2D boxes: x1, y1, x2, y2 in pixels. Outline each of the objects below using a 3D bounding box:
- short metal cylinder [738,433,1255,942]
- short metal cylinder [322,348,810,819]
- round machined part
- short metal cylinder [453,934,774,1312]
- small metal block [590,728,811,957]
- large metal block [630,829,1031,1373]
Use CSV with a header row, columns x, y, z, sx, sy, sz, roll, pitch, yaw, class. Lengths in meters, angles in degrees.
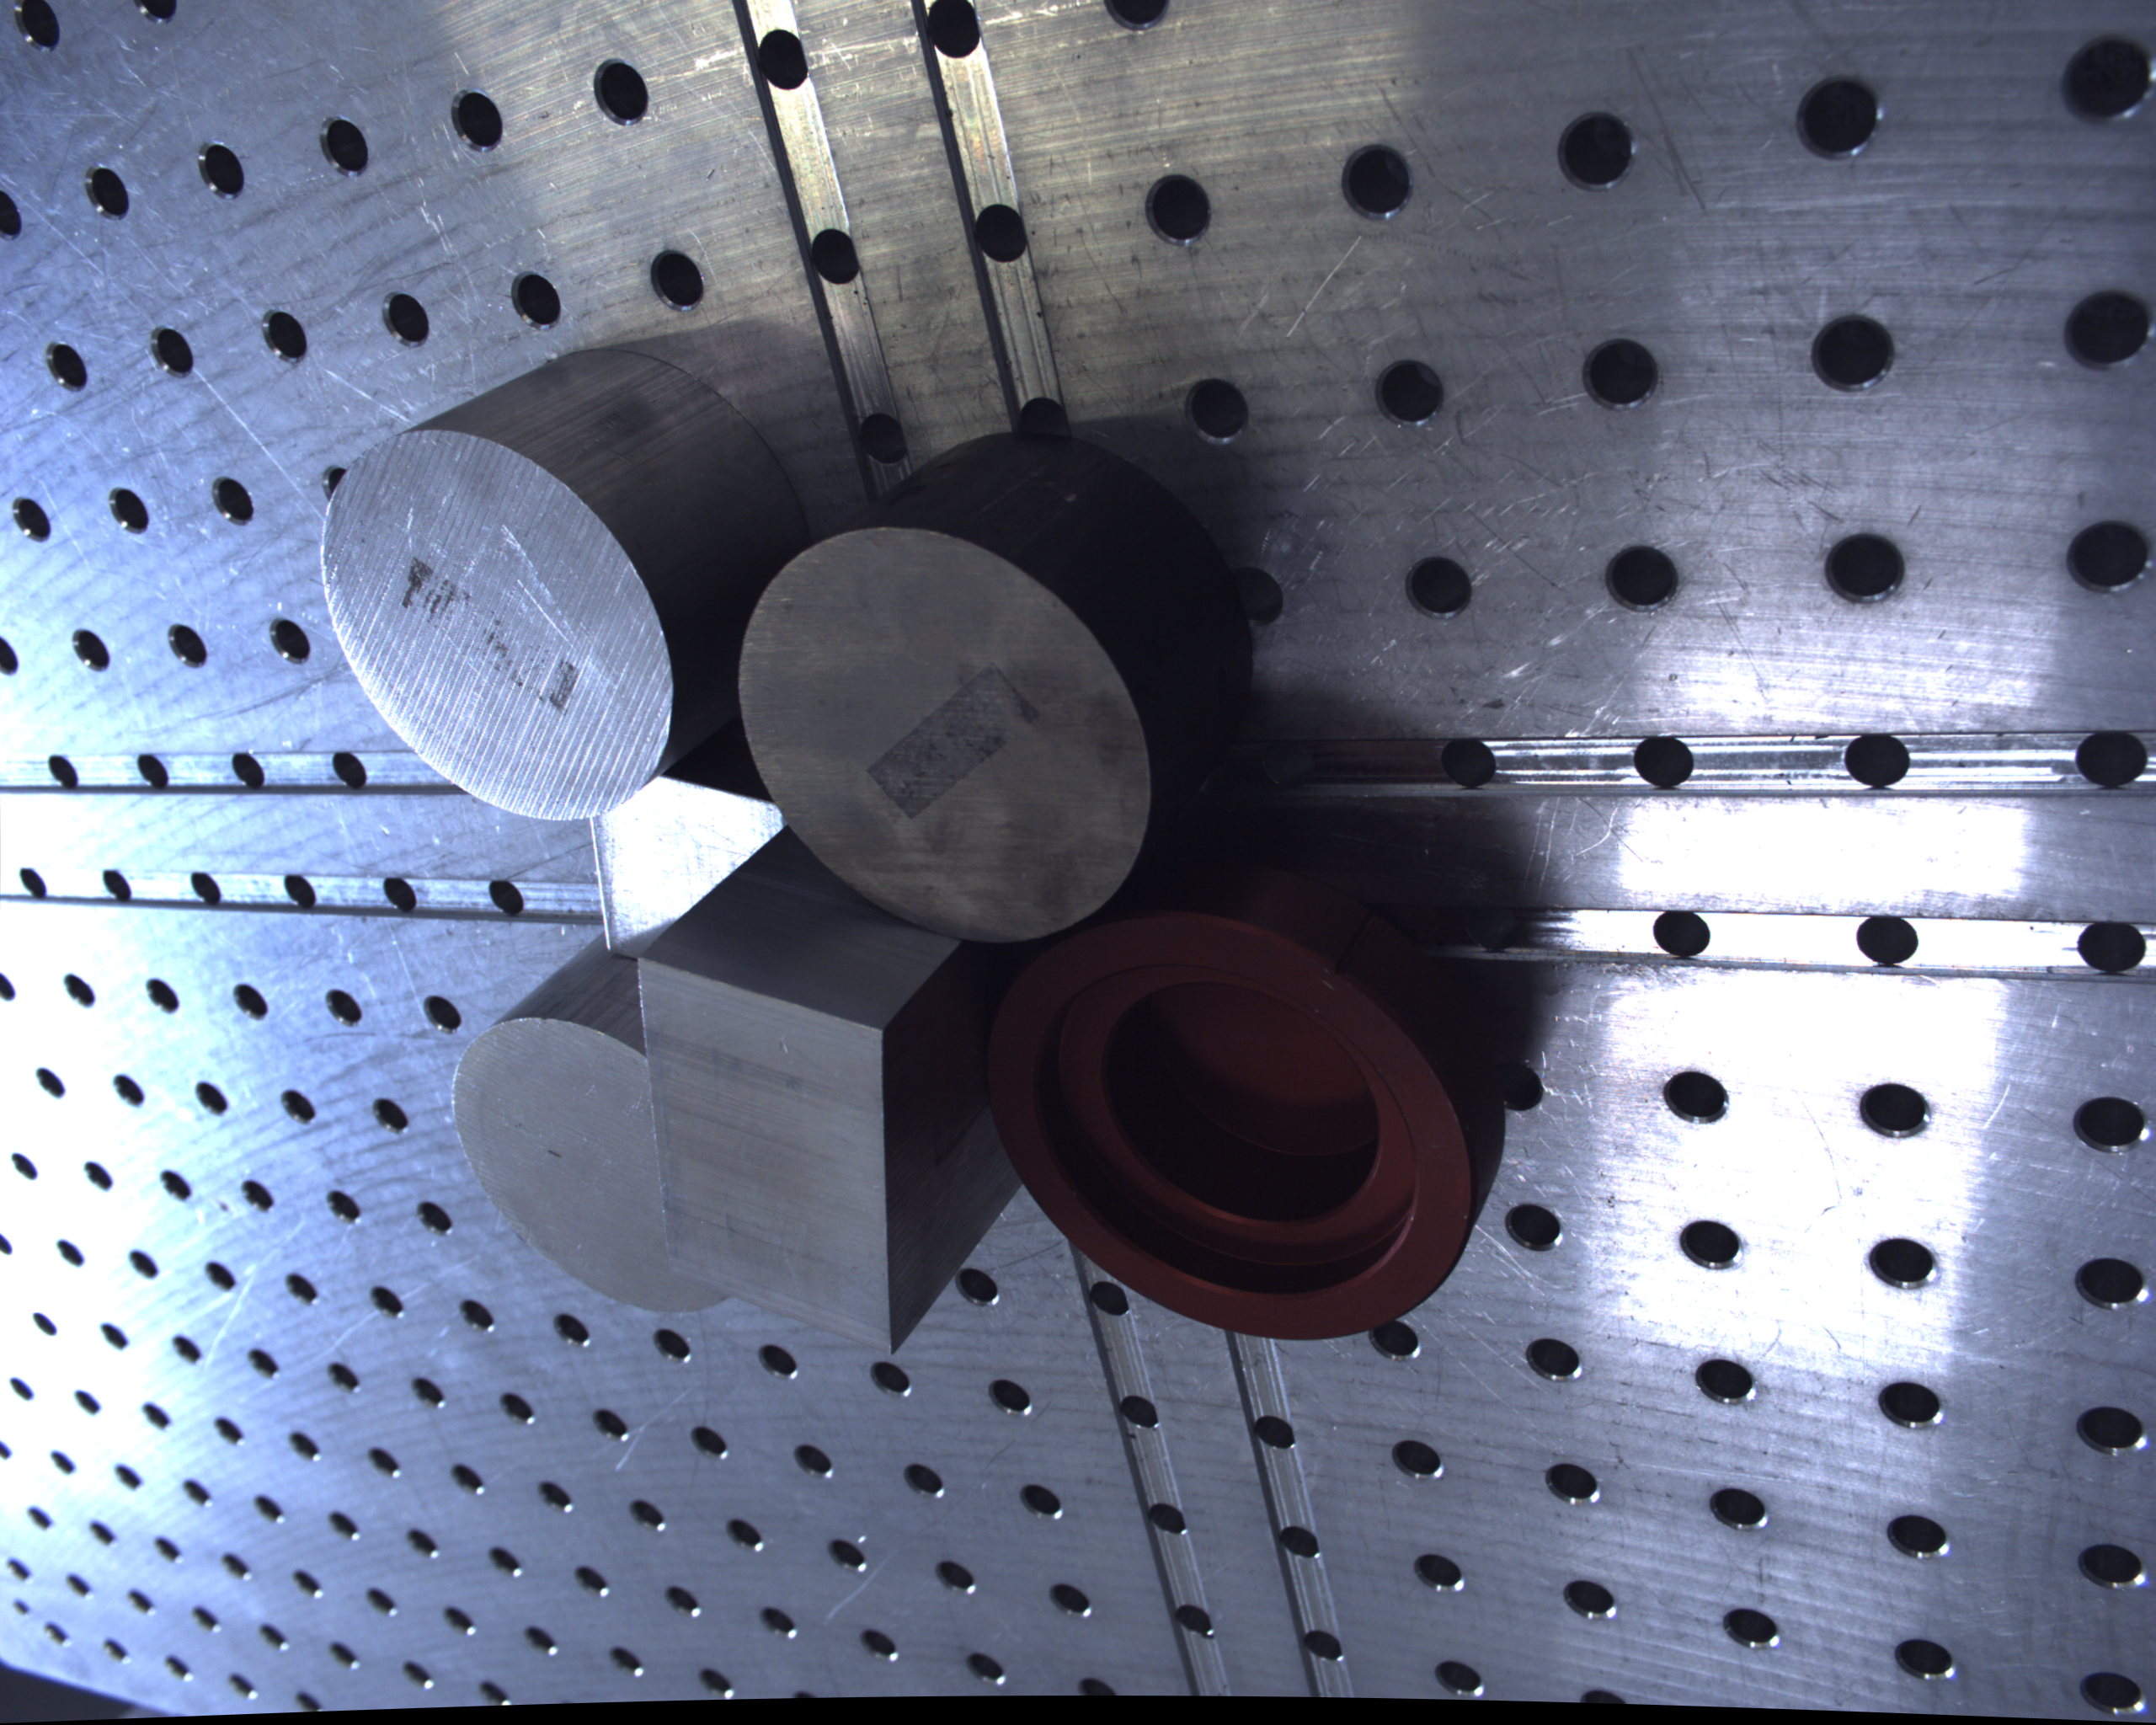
x,y,z,sx,sy,sz,roll,pitch,yaw,class
-0.014,-0.032,0.382,0.080,0.050,0.079,13,124,21,short metal cylinder
-0.100,-0.055,0.413,0.080,0.050,0.079,13,124,21,short metal cylinder
0.035,0.042,0.407,0.098,0.042,0.097,13,124,21,round machined part
-0.094,0.056,0.479,0.080,0.050,0.079,13,124,21,short metal cylinder
-0.076,-0.002,0.450,0.050,0.025,0.050,14,124,20,small metal block
-0.042,0.039,0.418,0.050,0.080,0.079,15,125,20,large metal block
